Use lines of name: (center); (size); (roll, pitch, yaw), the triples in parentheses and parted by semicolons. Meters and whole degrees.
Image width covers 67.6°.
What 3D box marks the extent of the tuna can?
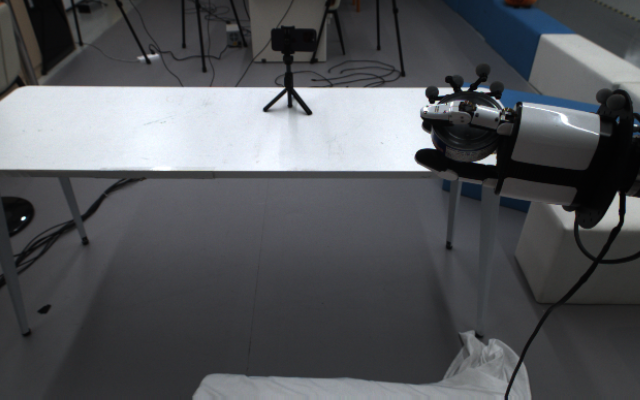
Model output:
tuna can: (0.179, -0.092, 0.594); (0.085, 0.034, 0.085); (-6, 59, 11)
